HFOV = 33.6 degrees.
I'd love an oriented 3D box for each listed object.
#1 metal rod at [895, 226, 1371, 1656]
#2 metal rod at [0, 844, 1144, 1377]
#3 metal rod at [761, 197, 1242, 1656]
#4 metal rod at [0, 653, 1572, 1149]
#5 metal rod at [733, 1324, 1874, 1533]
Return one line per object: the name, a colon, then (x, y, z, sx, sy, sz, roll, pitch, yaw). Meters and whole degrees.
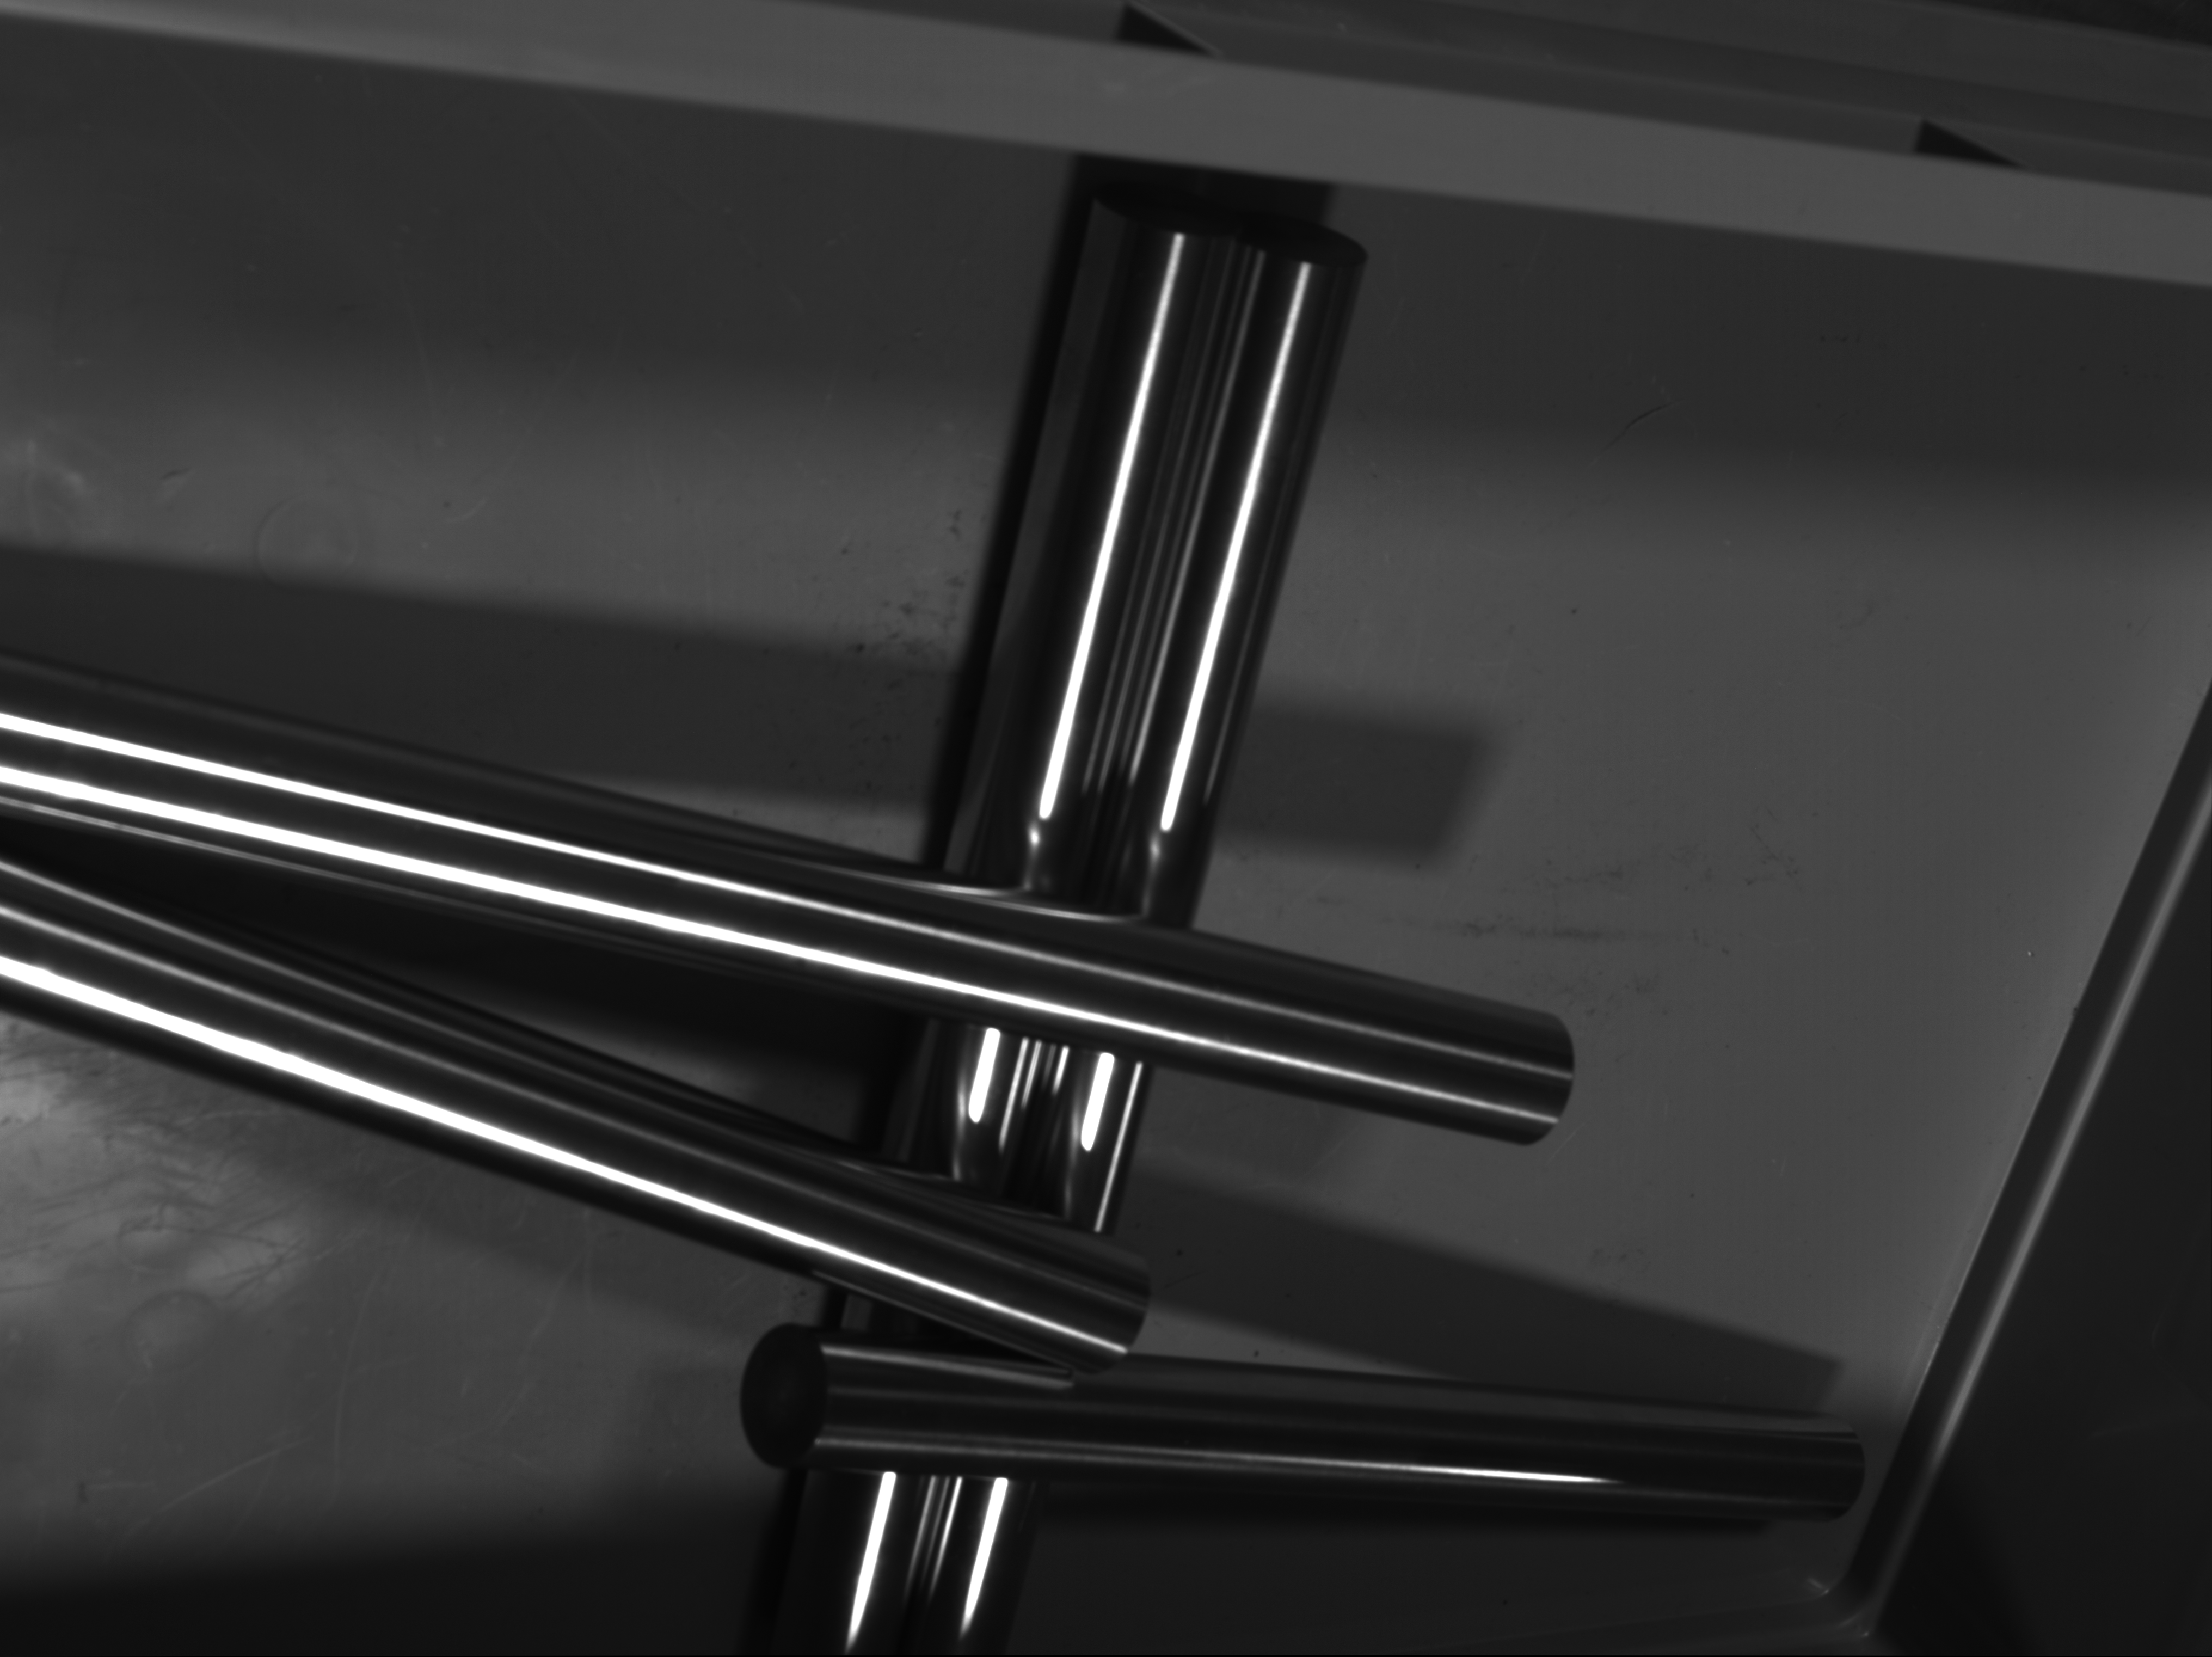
metal rod: (-0.001, 0.037, 0.669, 0.025, 0.025, 0.300, -1, 119, -30)
metal rod: (-0.117, 0.037, 0.587, 0.301, 0.025, 0.025, 24, 105, -32)
metal rod: (-0.023, 0.034, 0.655, 0.025, 0.025, 0.300, -1, 119, -30)
metal rod: (-0.051, 0.015, 0.603, 0.301, 0.025, 0.025, 14, 111, -28)
metal rod: (0.054, 0.123, 0.735, 0.301, 0.025, 0.025, 12, 111, -41)
